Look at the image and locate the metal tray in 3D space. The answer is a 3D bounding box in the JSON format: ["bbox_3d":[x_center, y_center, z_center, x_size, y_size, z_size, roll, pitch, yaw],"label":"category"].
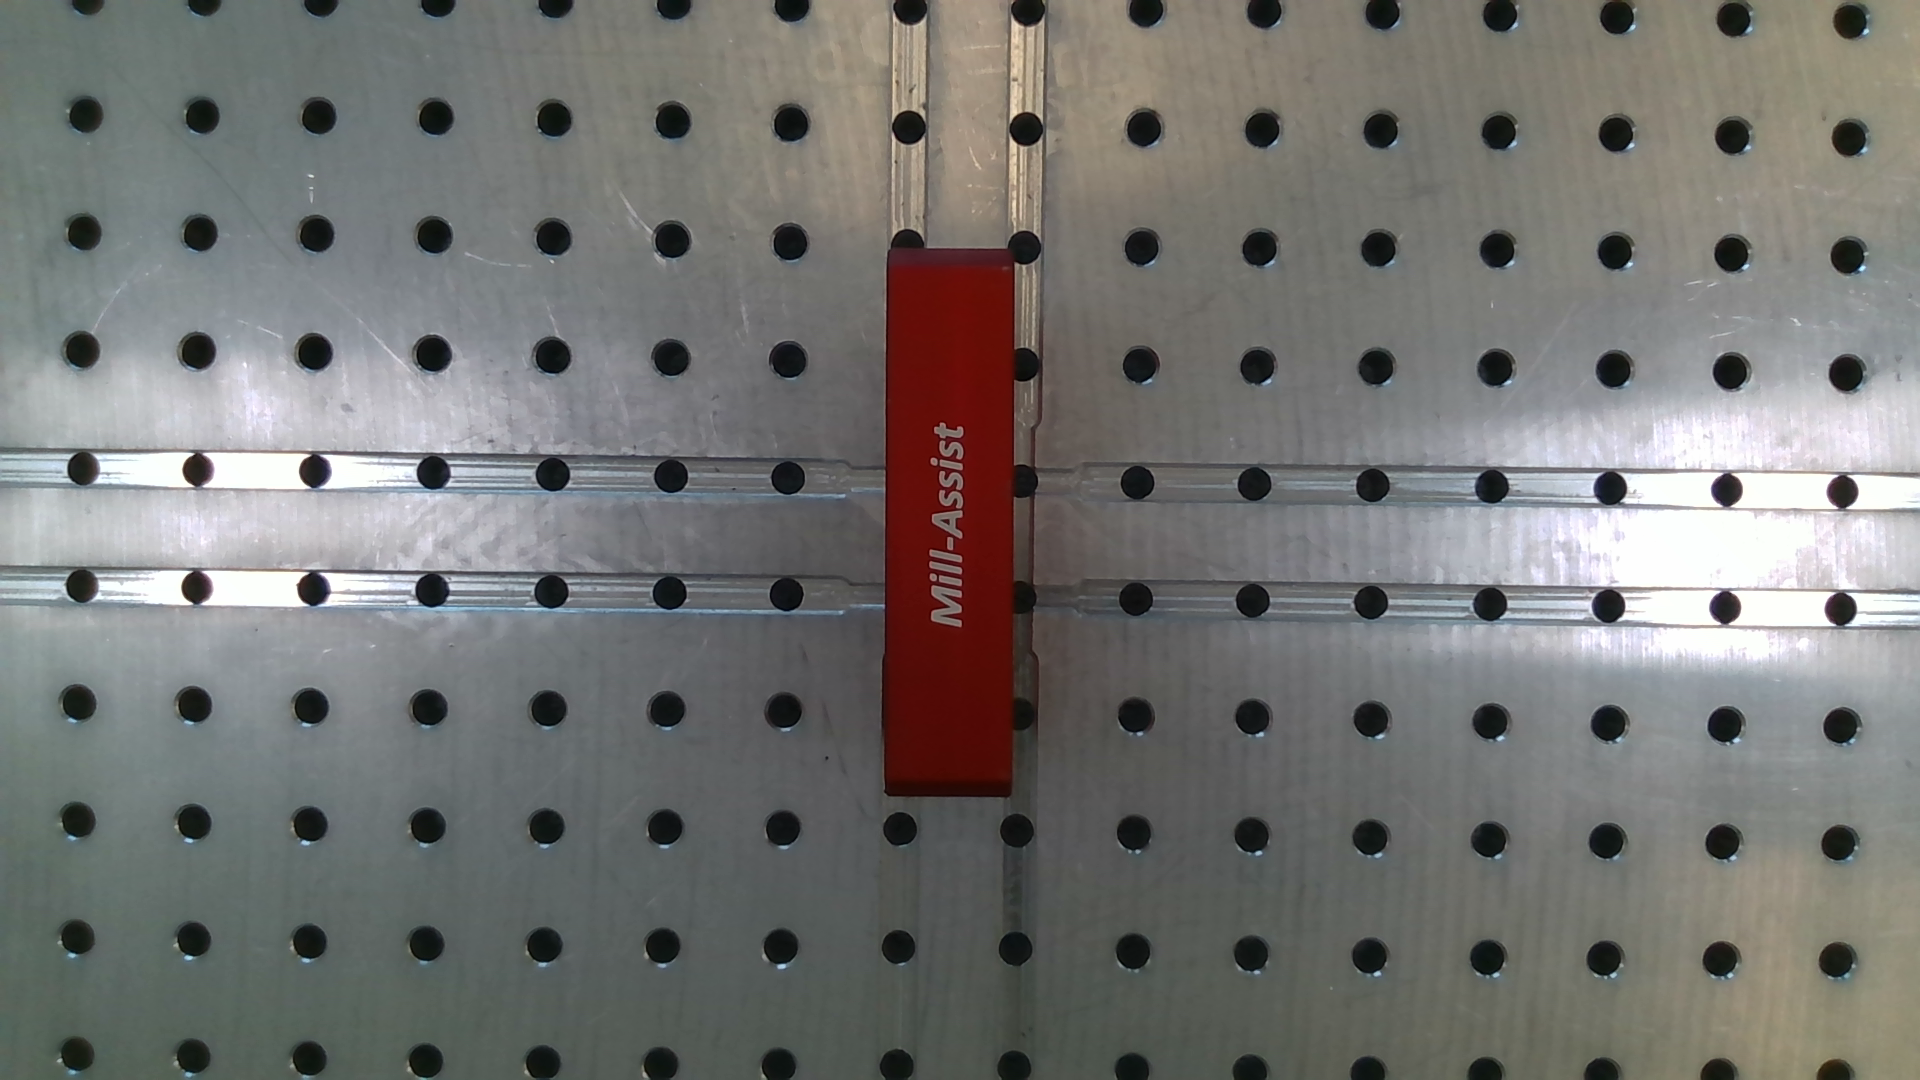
[{"bbox_3d":[-0.003,-0.004,0.365,0.030,0.090,0.130,0,90,0],"label":"metal tray"}]
